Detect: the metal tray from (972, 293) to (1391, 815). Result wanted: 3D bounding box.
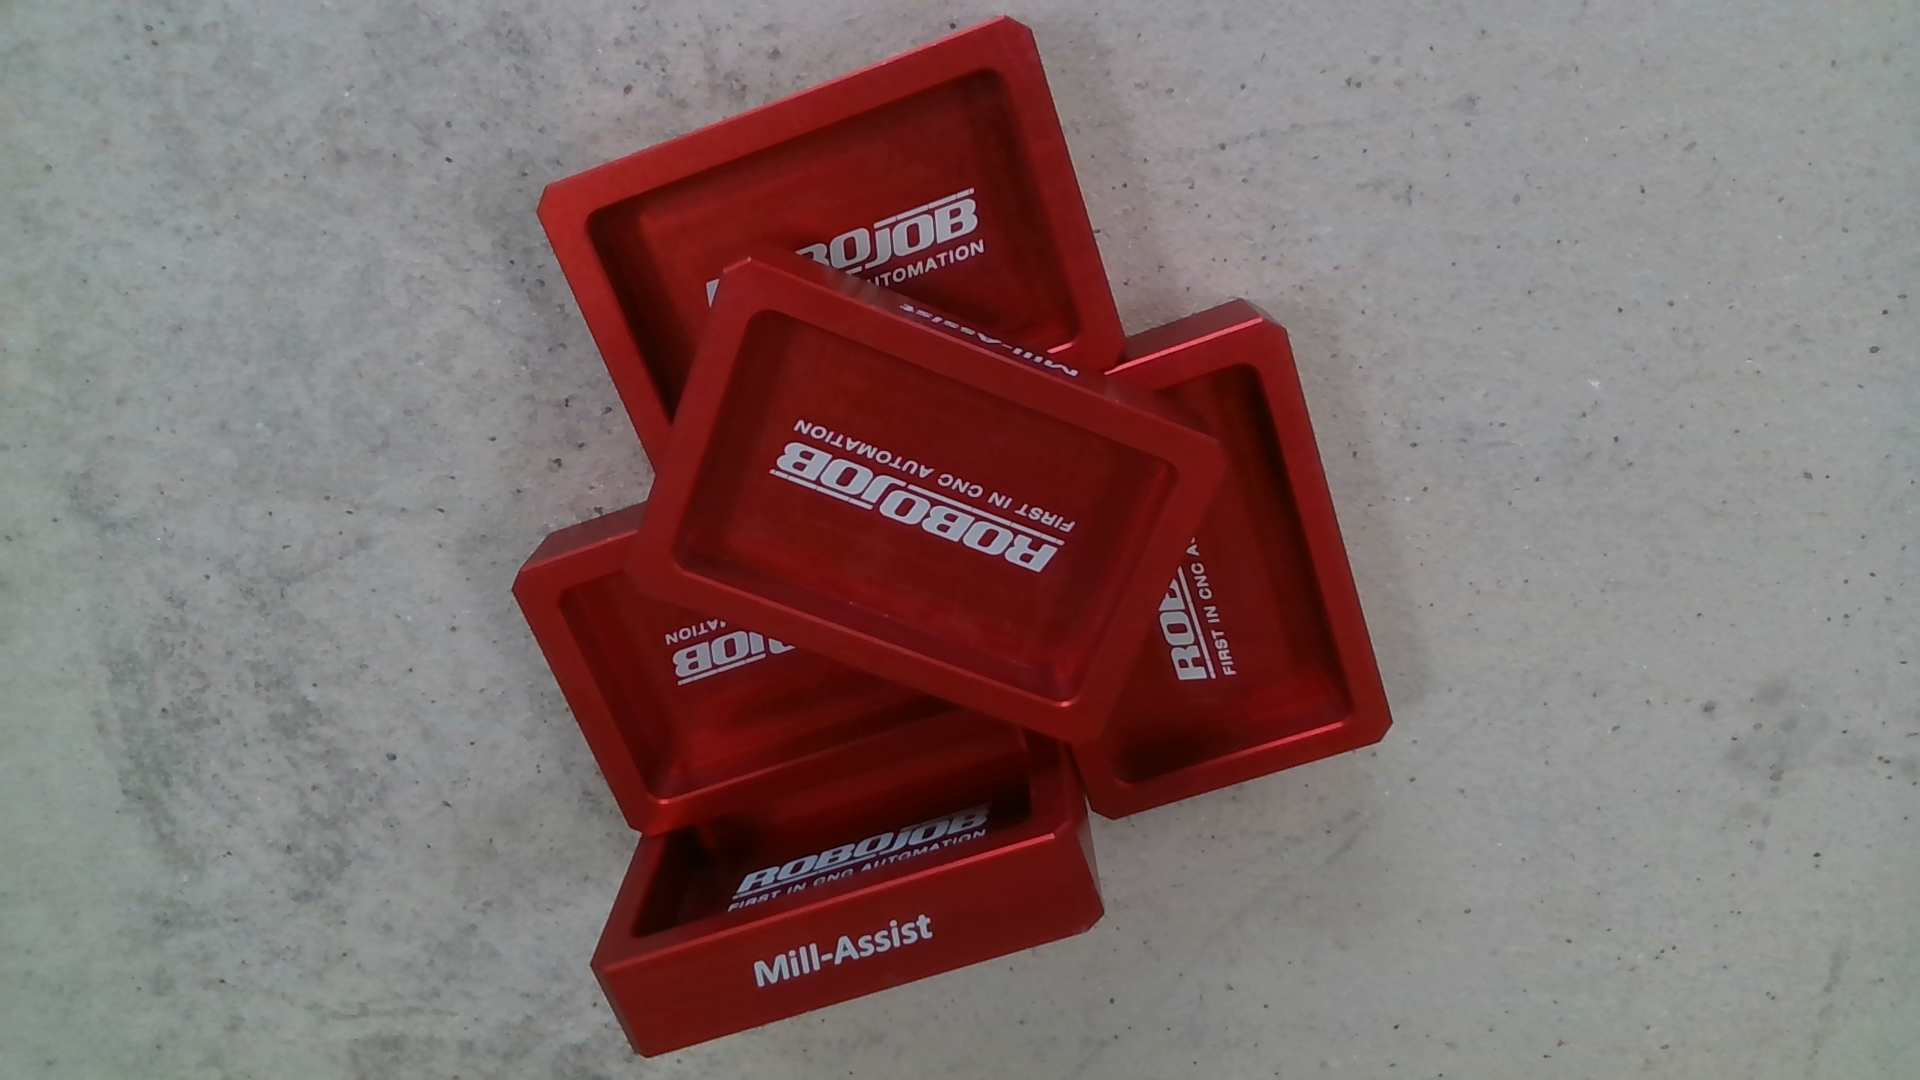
[{"bbox_3d":[0.062,0.006,0.394,0.090,0.030,0.130,-18,109,6],"label":"metal tray"}]

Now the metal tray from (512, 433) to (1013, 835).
[{"bbox_3d":[-0.049,0.024,0.398,0.130,0.030,0.090,-18,108,8],"label":"metal tray"}]

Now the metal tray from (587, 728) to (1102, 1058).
[{"bbox_3d":[-0.030,0.090,0.389,0.130,0.090,0.030,-17,109,6],"label":"metal tray"}]

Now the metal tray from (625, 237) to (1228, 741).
[{"bbox_3d":[-0.009,-0.012,0.356,0.130,0.030,0.090,21,108,-7],"label":"metal tray"}]

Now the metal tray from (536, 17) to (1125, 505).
[{"bbox_3d":[-0.032,-0.071,0.363,0.130,0.030,0.090,-18,109,6],"label":"metal tray"}]
